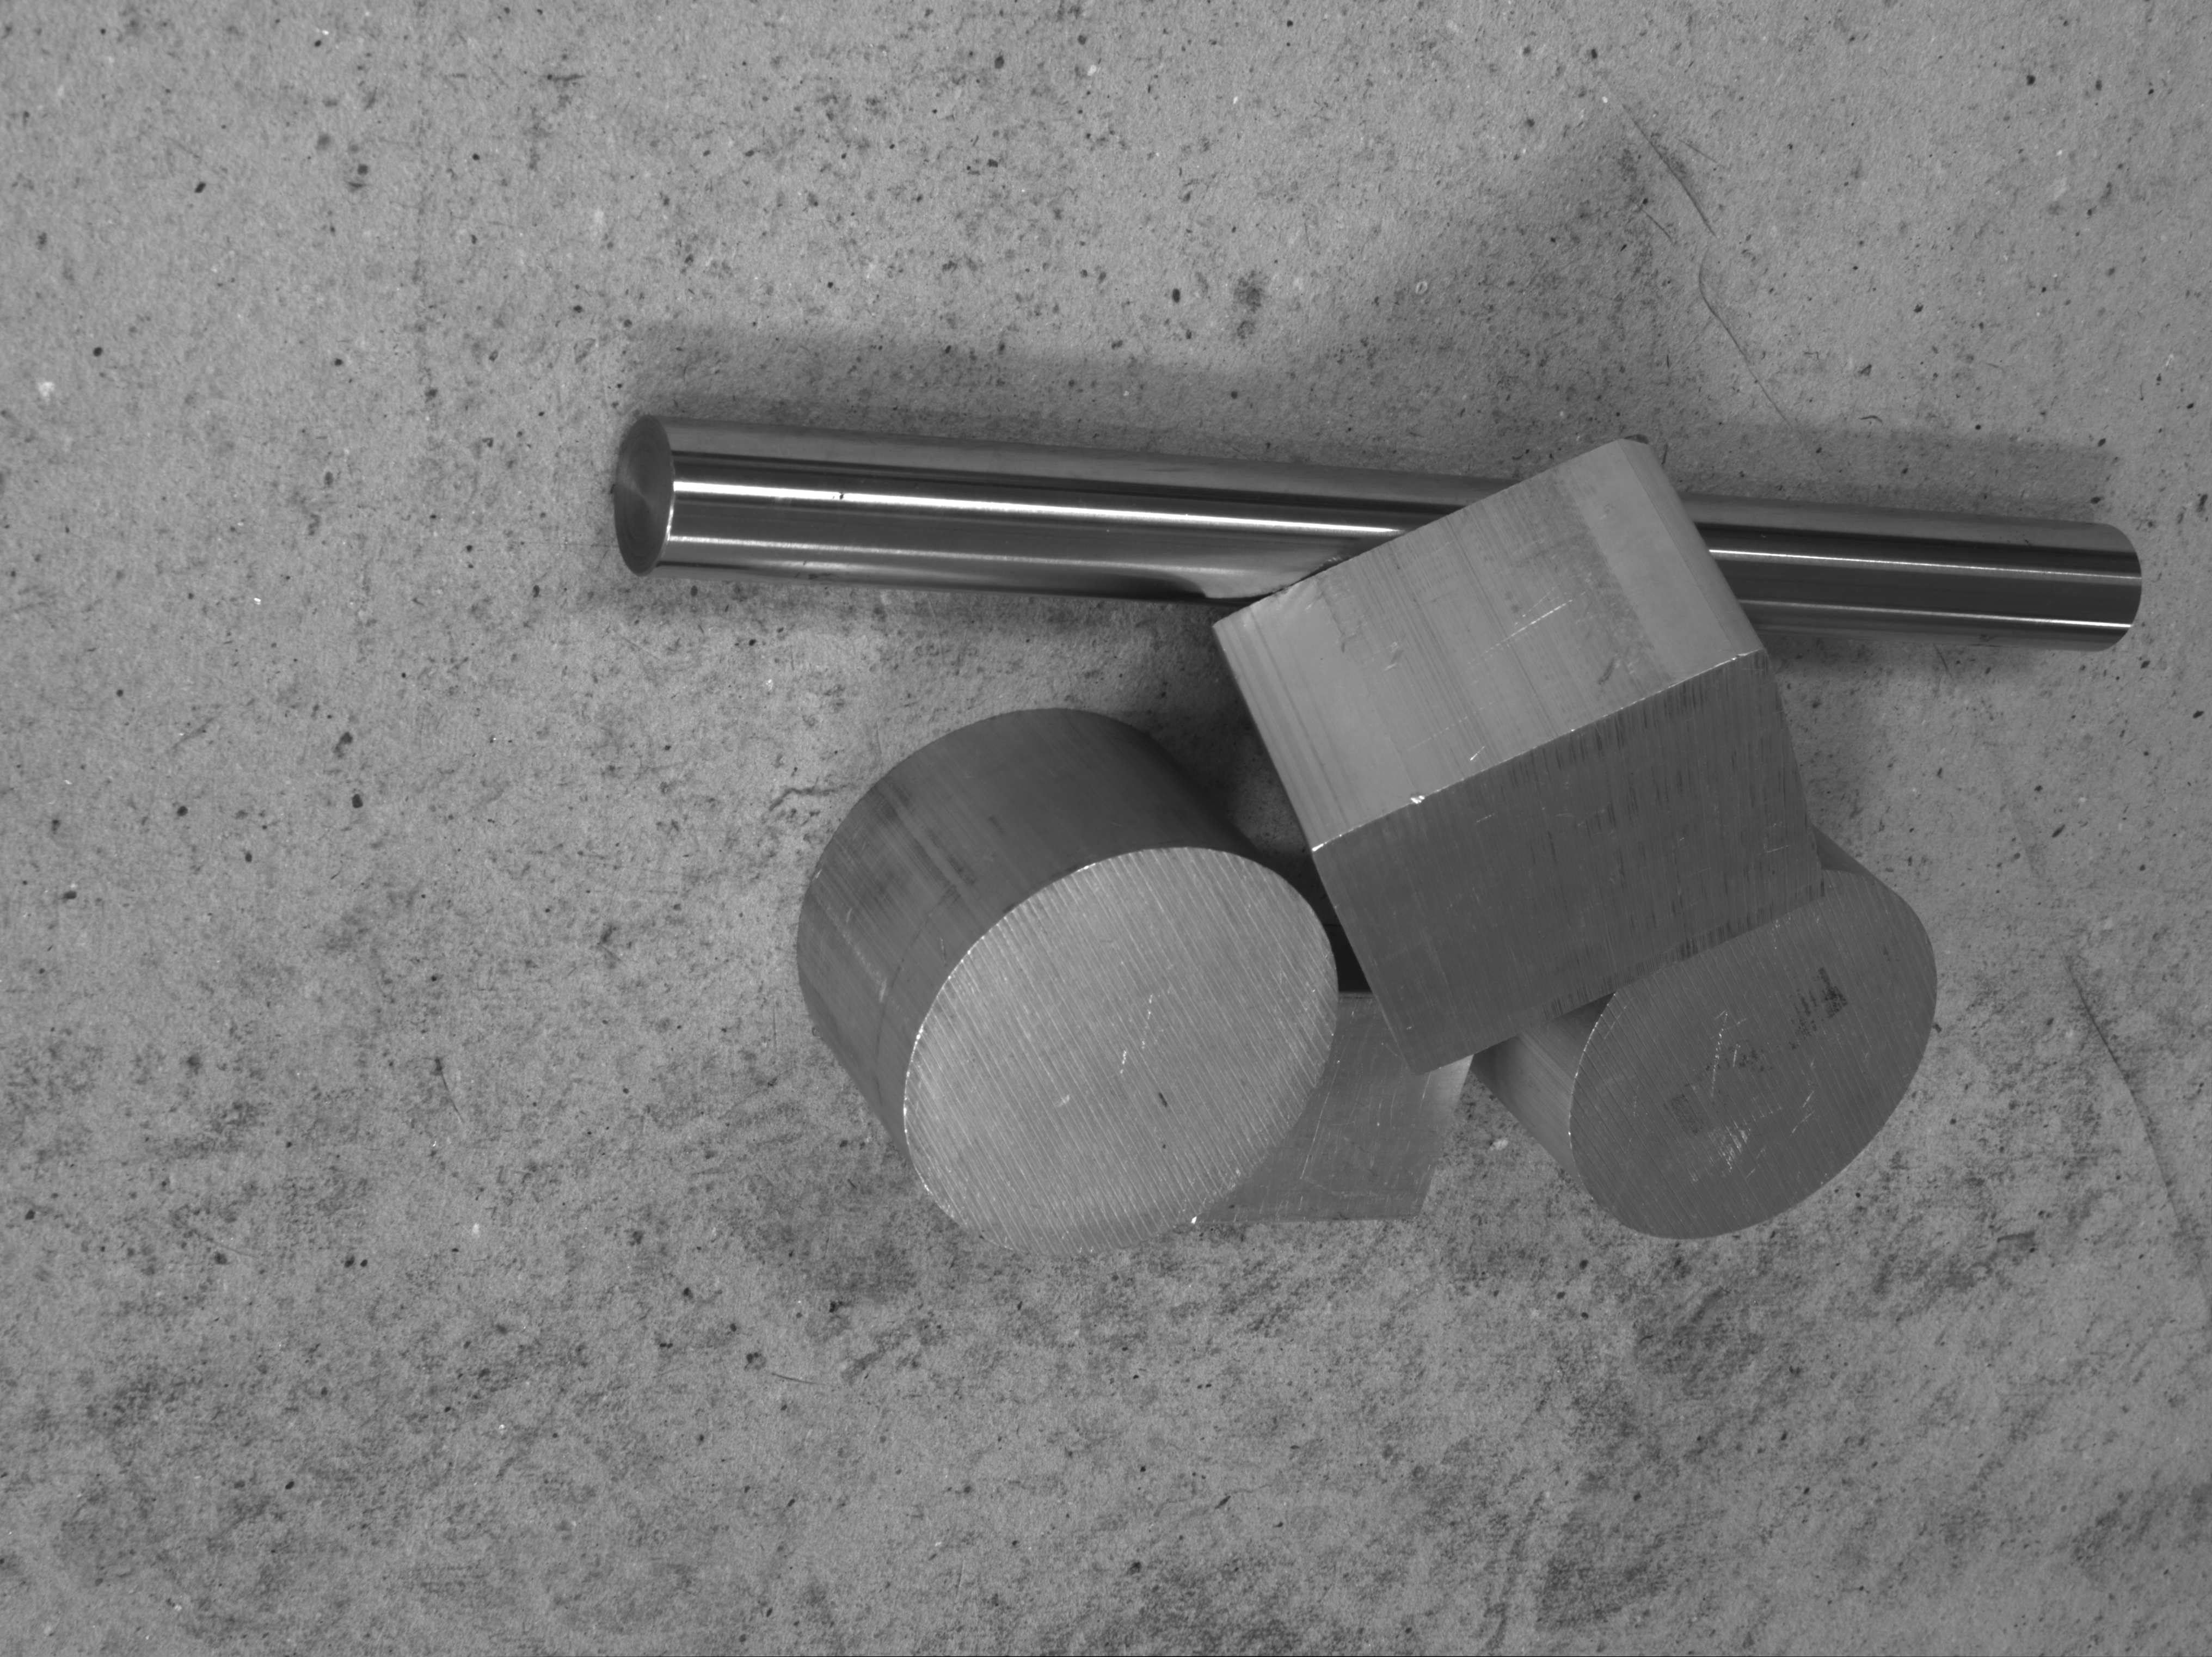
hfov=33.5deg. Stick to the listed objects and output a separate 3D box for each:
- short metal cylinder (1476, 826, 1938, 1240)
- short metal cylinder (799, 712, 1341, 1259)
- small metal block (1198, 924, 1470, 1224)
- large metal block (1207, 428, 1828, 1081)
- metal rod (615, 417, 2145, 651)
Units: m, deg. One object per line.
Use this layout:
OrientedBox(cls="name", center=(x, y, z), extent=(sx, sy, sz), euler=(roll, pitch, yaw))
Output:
OrientedBox(cls="short metal cylinder", center=(0.110, 0.031, 0.700), extent=(0.080, 0.050, 0.080), euler=(-13, 124, -21))
OrientedBox(cls="short metal cylinder", center=(-0.007, 0.027, 0.634), extent=(0.080, 0.050, 0.080), euler=(-13, 124, -21))
OrientedBox(cls="small metal block", center=(0.039, 0.046, 0.687), extent=(0.050, 0.025, 0.050), euler=(2, 117, -29))
OrientedBox(cls="large metal block", center=(0.072, -0.011, 0.631), extent=(0.080, 0.050, 0.080), euler=(-24, 145, 3))
OrientedBox(cls="metal rod", center=(0.060, -0.049, 0.640), extent=(0.301, 0.025, 0.025), euler=(1, 118, -29))
